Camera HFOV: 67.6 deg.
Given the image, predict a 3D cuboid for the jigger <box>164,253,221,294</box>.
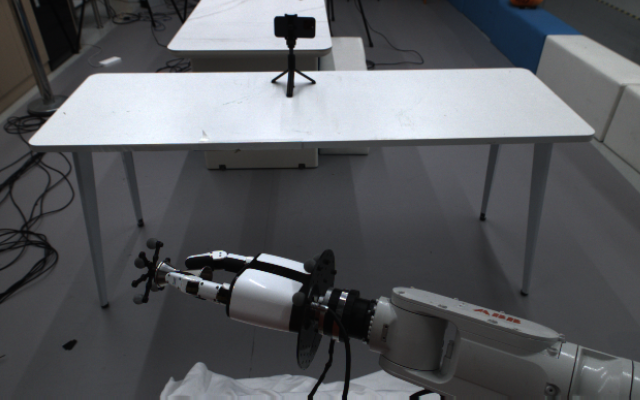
[{"bbox_3d":[-0.187,0.108,0.688,0.071,0.043,0.043,7,35,13],"label":"jigger"}]
